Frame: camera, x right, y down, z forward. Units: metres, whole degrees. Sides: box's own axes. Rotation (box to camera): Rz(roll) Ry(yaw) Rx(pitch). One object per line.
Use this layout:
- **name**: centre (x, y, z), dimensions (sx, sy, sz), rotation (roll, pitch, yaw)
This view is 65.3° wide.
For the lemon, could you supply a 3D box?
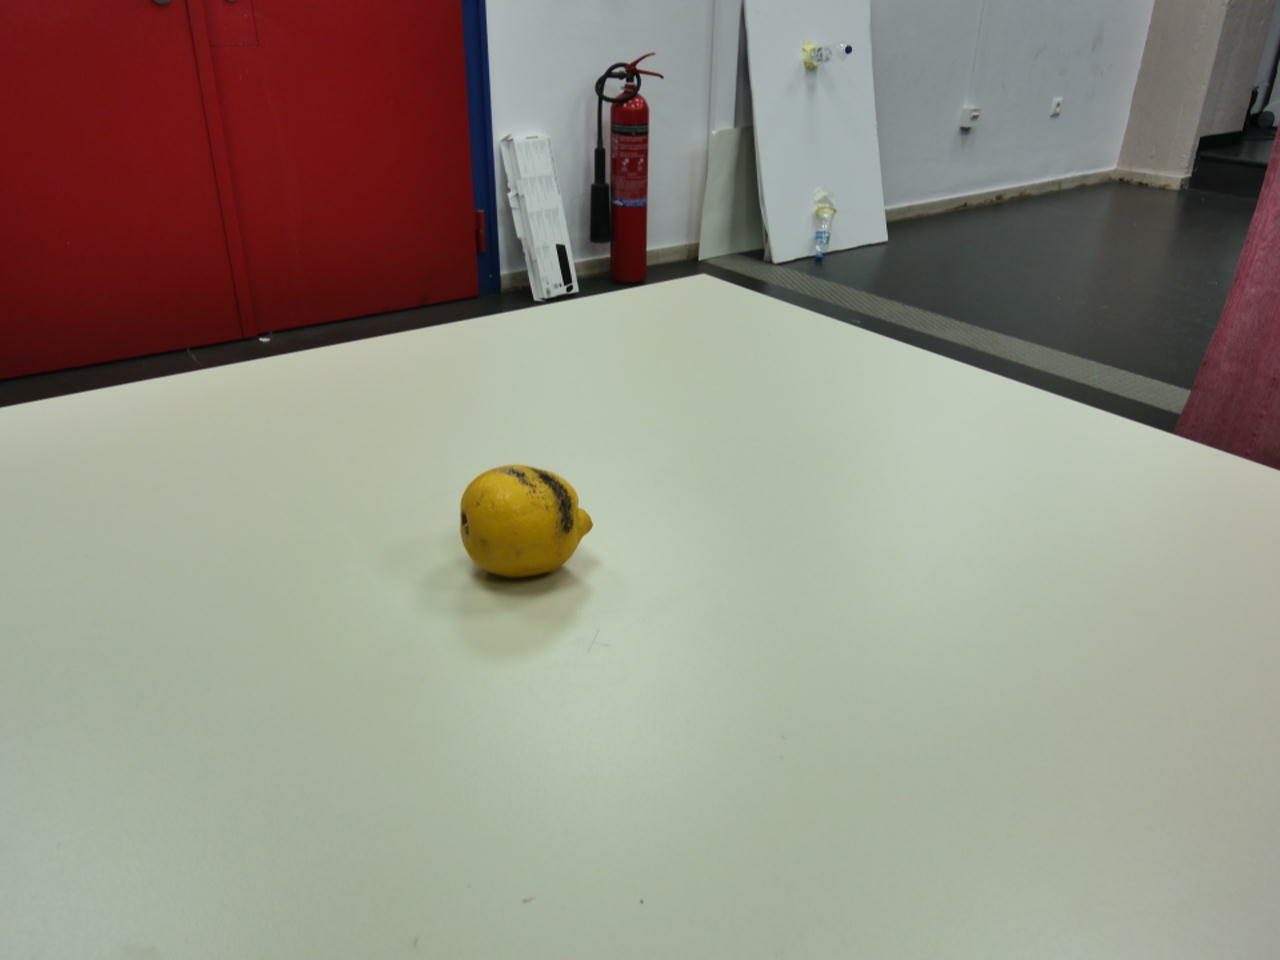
- **lemon**: centre (-0.060, 0.020, 0.500), dimensions (0.058, 0.056, 0.061), rotation (23, 33, 40)
